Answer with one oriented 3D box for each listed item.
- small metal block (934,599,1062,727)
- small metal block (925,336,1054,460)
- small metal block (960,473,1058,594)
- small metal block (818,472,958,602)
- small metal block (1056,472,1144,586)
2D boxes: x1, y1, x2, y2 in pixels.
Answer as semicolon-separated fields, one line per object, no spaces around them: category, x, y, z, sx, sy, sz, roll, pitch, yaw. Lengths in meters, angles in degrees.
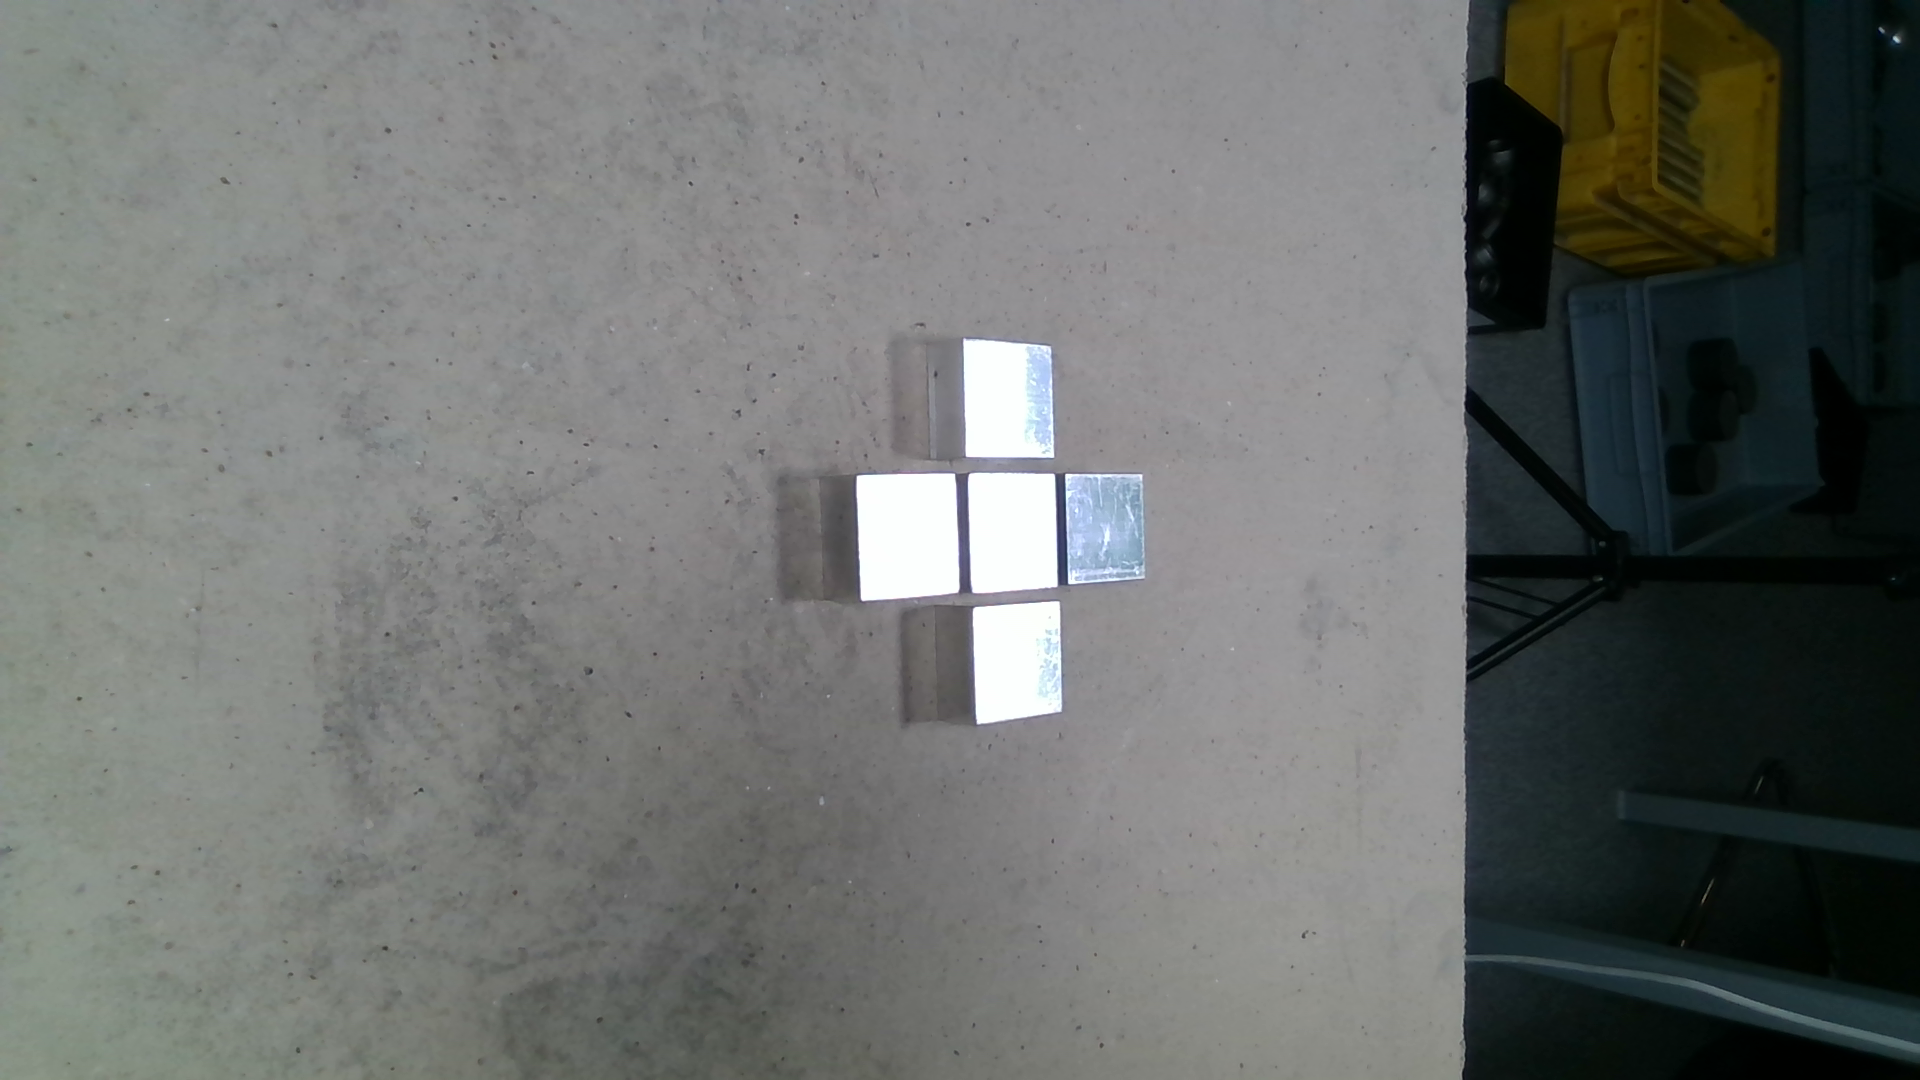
small metal block;0.017;0.052;0.598;0.050;0.025;0.050;-3;92;-40
small metal block;0.013;-0.060;0.594;0.050;0.025;0.050;-3;92;-40
small metal block;0.015;-0.003;0.596;0.050;0.025;0.050;-3;92;-40
small metal block;-0.029;-0.002;0.559;0.050;0.025;0.050;-3;92;-40
small metal block;0.058;-0.006;0.632;0.050;0.025;0.050;-3;92;-40
